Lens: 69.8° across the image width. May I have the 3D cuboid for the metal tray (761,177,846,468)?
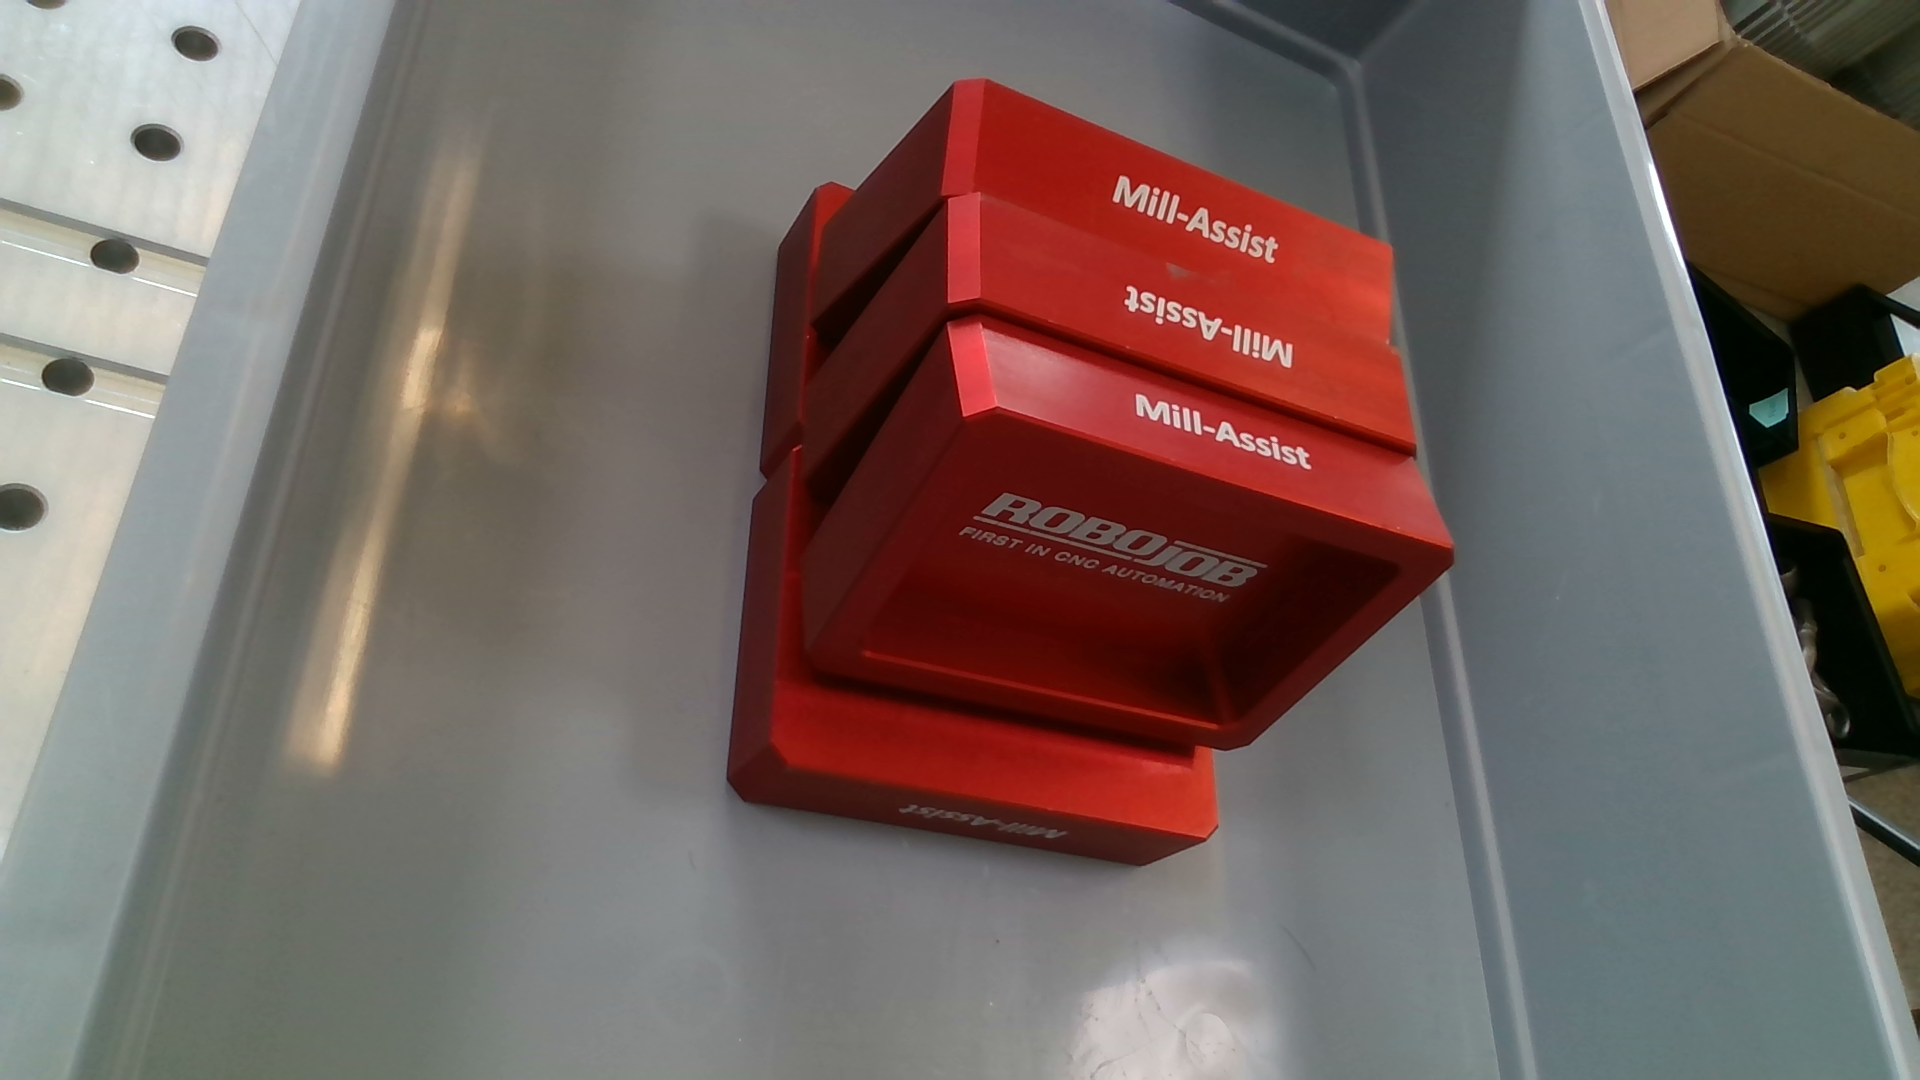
[{"bbox_3d":[0.009,-0.047,0.418,0.130,0.030,0.090,15,59,-25],"label":"metal tray"}]

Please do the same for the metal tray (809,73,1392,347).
[{"bbox_3d":[0.037,-0.067,0.366,0.130,0.090,0.030,14,71,-25],"label":"metal tray"}]

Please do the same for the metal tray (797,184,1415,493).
[{"bbox_3d":[0.036,-0.031,0.348,0.130,0.090,0.030,15,58,-27],"label":"metal tray"}]

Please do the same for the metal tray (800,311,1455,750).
[{"bbox_3d":[0.038,0.005,0.329,0.130,0.090,0.030,14,44,-25],"label":"metal tray"}]

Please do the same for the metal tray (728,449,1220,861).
[{"bbox_3d":[0.007,0.032,0.375,0.130,0.030,0.090,15,59,-25],"label":"metal tray"}]
